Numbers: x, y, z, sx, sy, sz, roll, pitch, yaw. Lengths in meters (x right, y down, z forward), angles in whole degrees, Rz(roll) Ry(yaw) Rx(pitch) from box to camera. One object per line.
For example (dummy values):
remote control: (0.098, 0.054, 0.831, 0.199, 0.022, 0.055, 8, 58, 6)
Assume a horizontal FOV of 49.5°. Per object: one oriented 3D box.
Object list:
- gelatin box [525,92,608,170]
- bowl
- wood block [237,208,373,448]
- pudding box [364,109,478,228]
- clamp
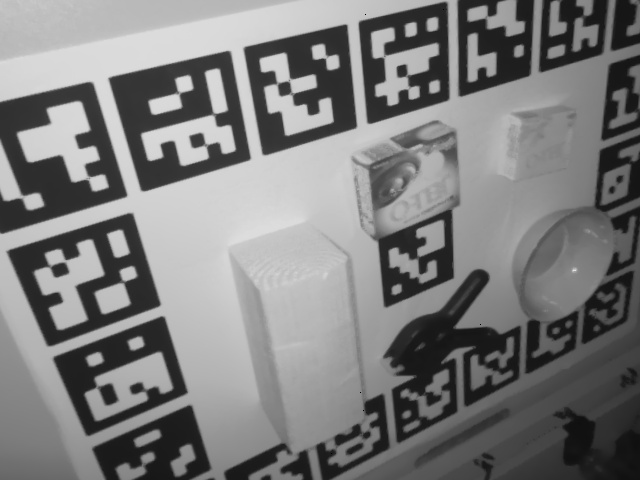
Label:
gelatin box: (0.274, -0.122, 0.769, 0.090, 0.030, 0.073, -11, 116, -22)
bowl: (0.322, 0.020, 0.854, 0.164, 0.055, 0.160, -10, 114, -22)
wood block: (-0.013, 0.086, 0.681, 0.091, 0.090, 0.205, -16, 119, -18)
pudding box: (0.104, -0.074, 0.701, 0.115, 0.038, 0.089, -21, 117, -20)
clamp: (0.177, 0.102, 0.830, 0.166, 0.036, 0.121, -28, 123, -11)
